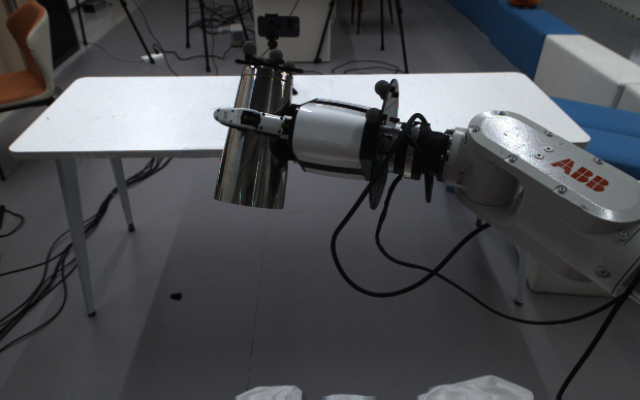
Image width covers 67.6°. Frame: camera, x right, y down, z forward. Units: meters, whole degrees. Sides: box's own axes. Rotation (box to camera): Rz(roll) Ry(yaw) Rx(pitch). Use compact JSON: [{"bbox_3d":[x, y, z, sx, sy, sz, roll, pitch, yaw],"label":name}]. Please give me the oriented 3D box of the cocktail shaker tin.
[{"bbox_3d":[-0.078,-0.079,0.624,0.093,0.170,0.093,9,3,0],"label":"cocktail shaker tin"}]
